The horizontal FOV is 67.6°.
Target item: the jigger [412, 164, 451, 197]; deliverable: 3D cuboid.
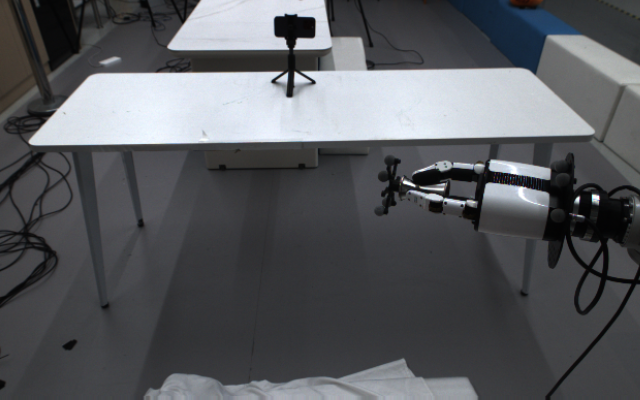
[{"bbox_3d":[0.161,-0.017,0.723,0.071,0.043,0.043,10,35,22],"label":"jigger"}]
